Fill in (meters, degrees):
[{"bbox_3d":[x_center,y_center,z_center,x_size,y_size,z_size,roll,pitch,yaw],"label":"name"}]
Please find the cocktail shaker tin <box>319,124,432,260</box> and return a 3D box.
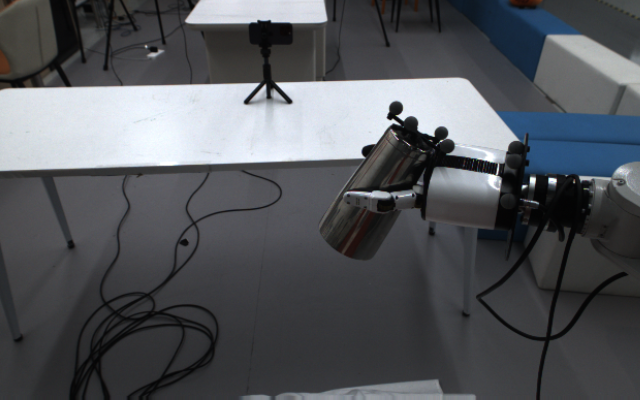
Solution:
[{"bbox_3d":[0.078,-0.016,0.649,0.093,0.170,0.093,25,29,-15],"label":"cocktail shaker tin"}]
